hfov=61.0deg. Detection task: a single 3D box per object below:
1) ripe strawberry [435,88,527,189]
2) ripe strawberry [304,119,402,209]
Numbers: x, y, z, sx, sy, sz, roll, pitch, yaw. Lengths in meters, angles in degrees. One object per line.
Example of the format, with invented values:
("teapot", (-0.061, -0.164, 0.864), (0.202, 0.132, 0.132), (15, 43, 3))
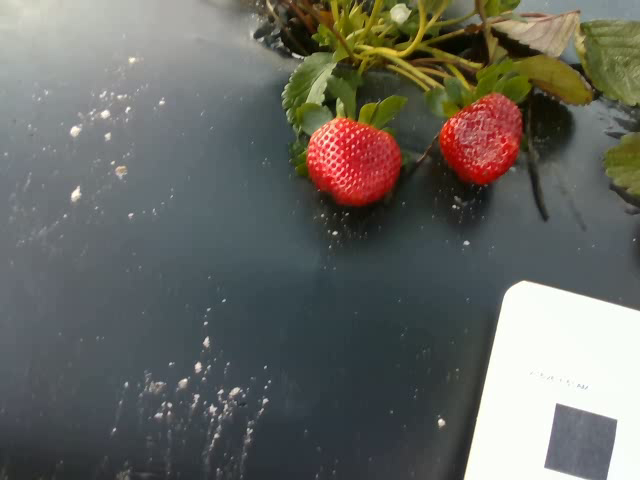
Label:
("ripe strawberry", (0.079, -0.050, 0.259), (0.042, 0.034, 0.053), (-2, 43, 3))
("ripe strawberry", (0.015, -0.034, 0.248), (0.050, 0.045, 0.061), (3, 40, 4))
